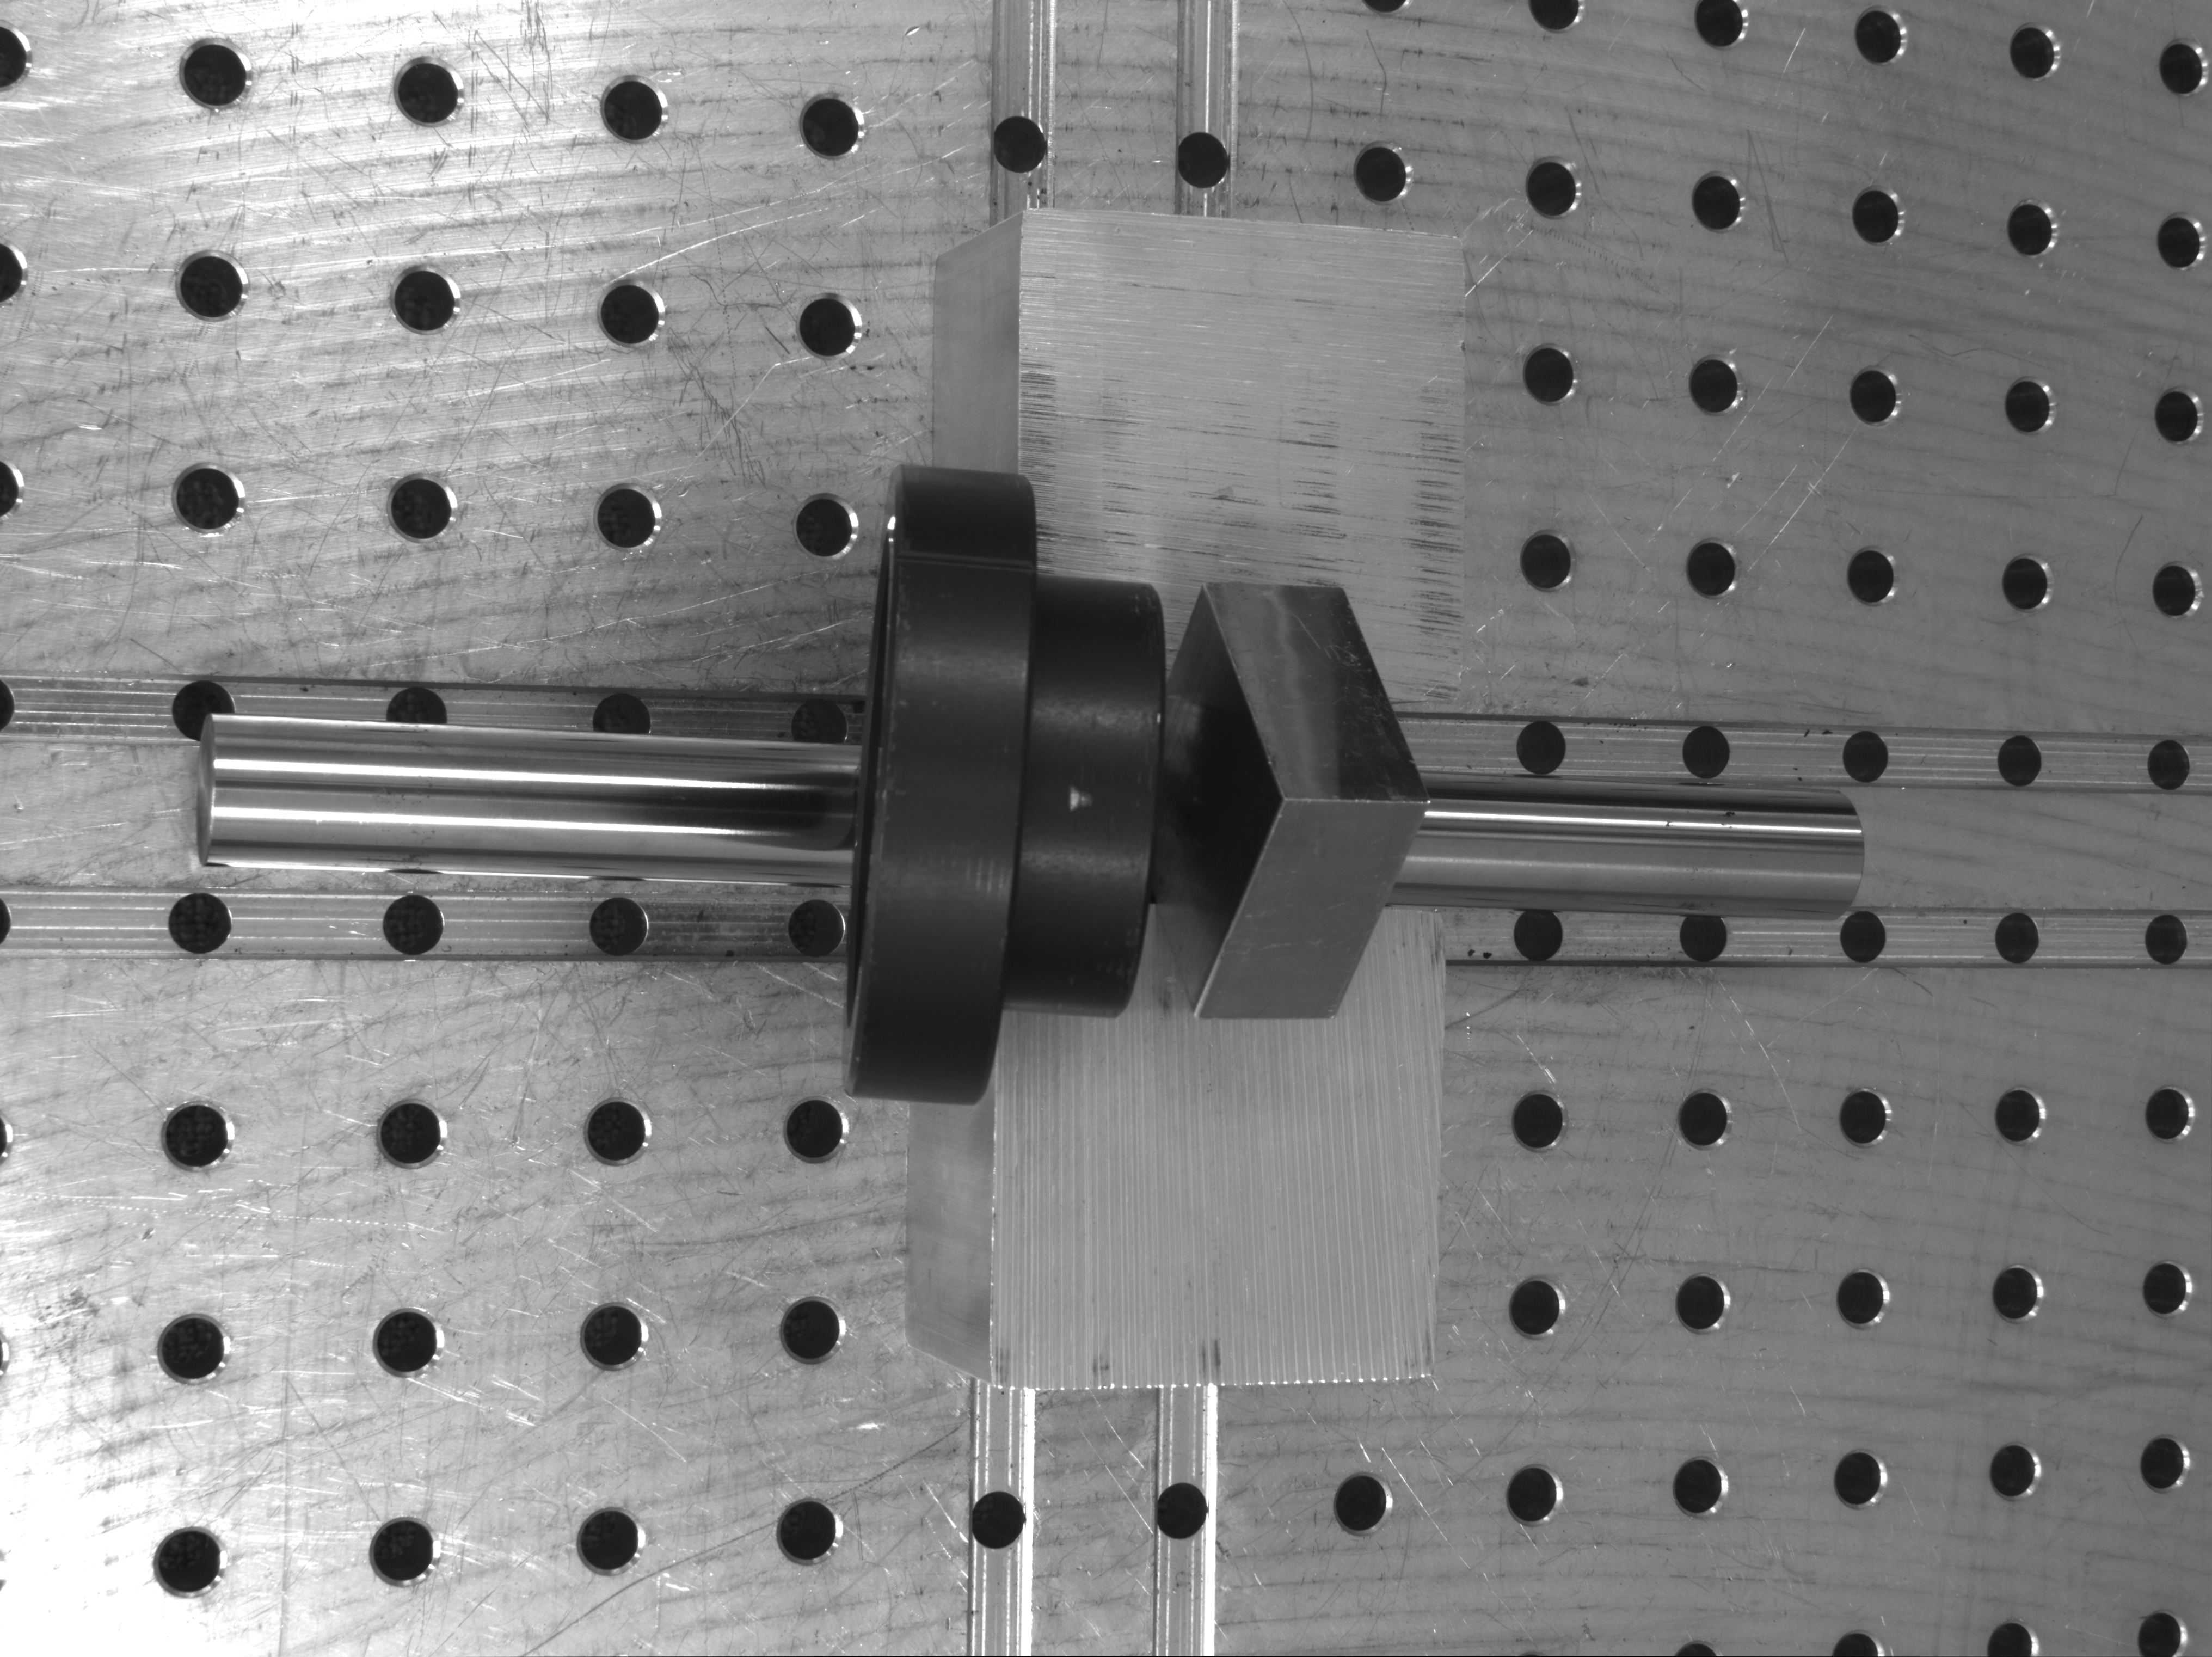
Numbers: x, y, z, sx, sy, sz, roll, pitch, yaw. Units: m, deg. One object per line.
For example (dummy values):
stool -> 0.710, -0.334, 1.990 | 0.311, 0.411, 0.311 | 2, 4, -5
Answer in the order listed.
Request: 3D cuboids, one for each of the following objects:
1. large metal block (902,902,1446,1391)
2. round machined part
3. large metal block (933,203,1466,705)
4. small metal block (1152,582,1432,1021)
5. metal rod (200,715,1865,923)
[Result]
large metal block -> 0.011, 0.053, 0.637 | 0.080, 0.050, 0.080 | 1, 89, -20
round machined part -> -0.016, -0.006, 0.571 | 0.042, 0.098, 0.098 | 4, 88, -5
large metal block -> 0.015, -0.062, 0.638 | 0.080, 0.050, 0.080 | 1, 90, -20
small metal block -> 0.027, -0.004, 0.596 | 0.025, 0.050, 0.050 | 1, 46, -20
metal rod -> -0.004, 0.000, 0.644 | 0.301, 0.025, 0.025 | 2, 89, -20
